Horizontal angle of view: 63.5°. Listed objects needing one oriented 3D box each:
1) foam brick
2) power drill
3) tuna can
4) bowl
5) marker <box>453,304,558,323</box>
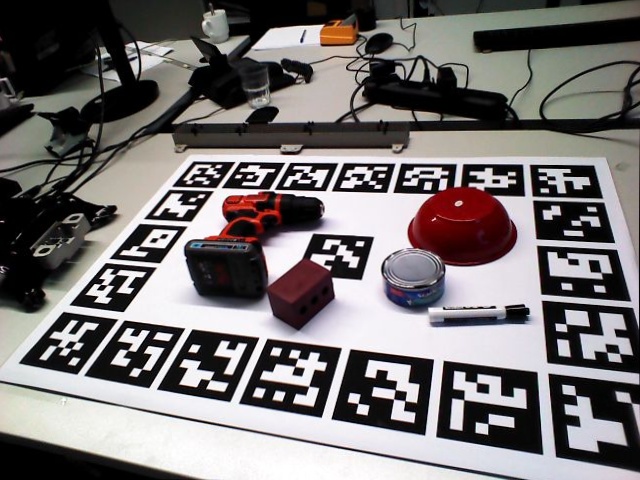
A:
[{"bbox_3d":[0.002,0.083,0.691,0.051,0.053,0.077,21,49,34],"label":"foam brick"},{"bbox_3d":[-0.082,0.007,0.805,0.185,0.057,0.185,4,37,13],"label":"power drill"},{"bbox_3d":[0.156,0.051,0.696,0.086,0.034,0.085,-5,38,4],"label":"tuna can"},{"bbox_3d":[0.236,-0.027,0.777,0.162,0.055,0.161,-9,29,5],"label":"bowl"},{"bbox_3d":[0.227,0.091,0.636,0.121,0.020,0.019,-4,39,9],"label":"marker"}]
